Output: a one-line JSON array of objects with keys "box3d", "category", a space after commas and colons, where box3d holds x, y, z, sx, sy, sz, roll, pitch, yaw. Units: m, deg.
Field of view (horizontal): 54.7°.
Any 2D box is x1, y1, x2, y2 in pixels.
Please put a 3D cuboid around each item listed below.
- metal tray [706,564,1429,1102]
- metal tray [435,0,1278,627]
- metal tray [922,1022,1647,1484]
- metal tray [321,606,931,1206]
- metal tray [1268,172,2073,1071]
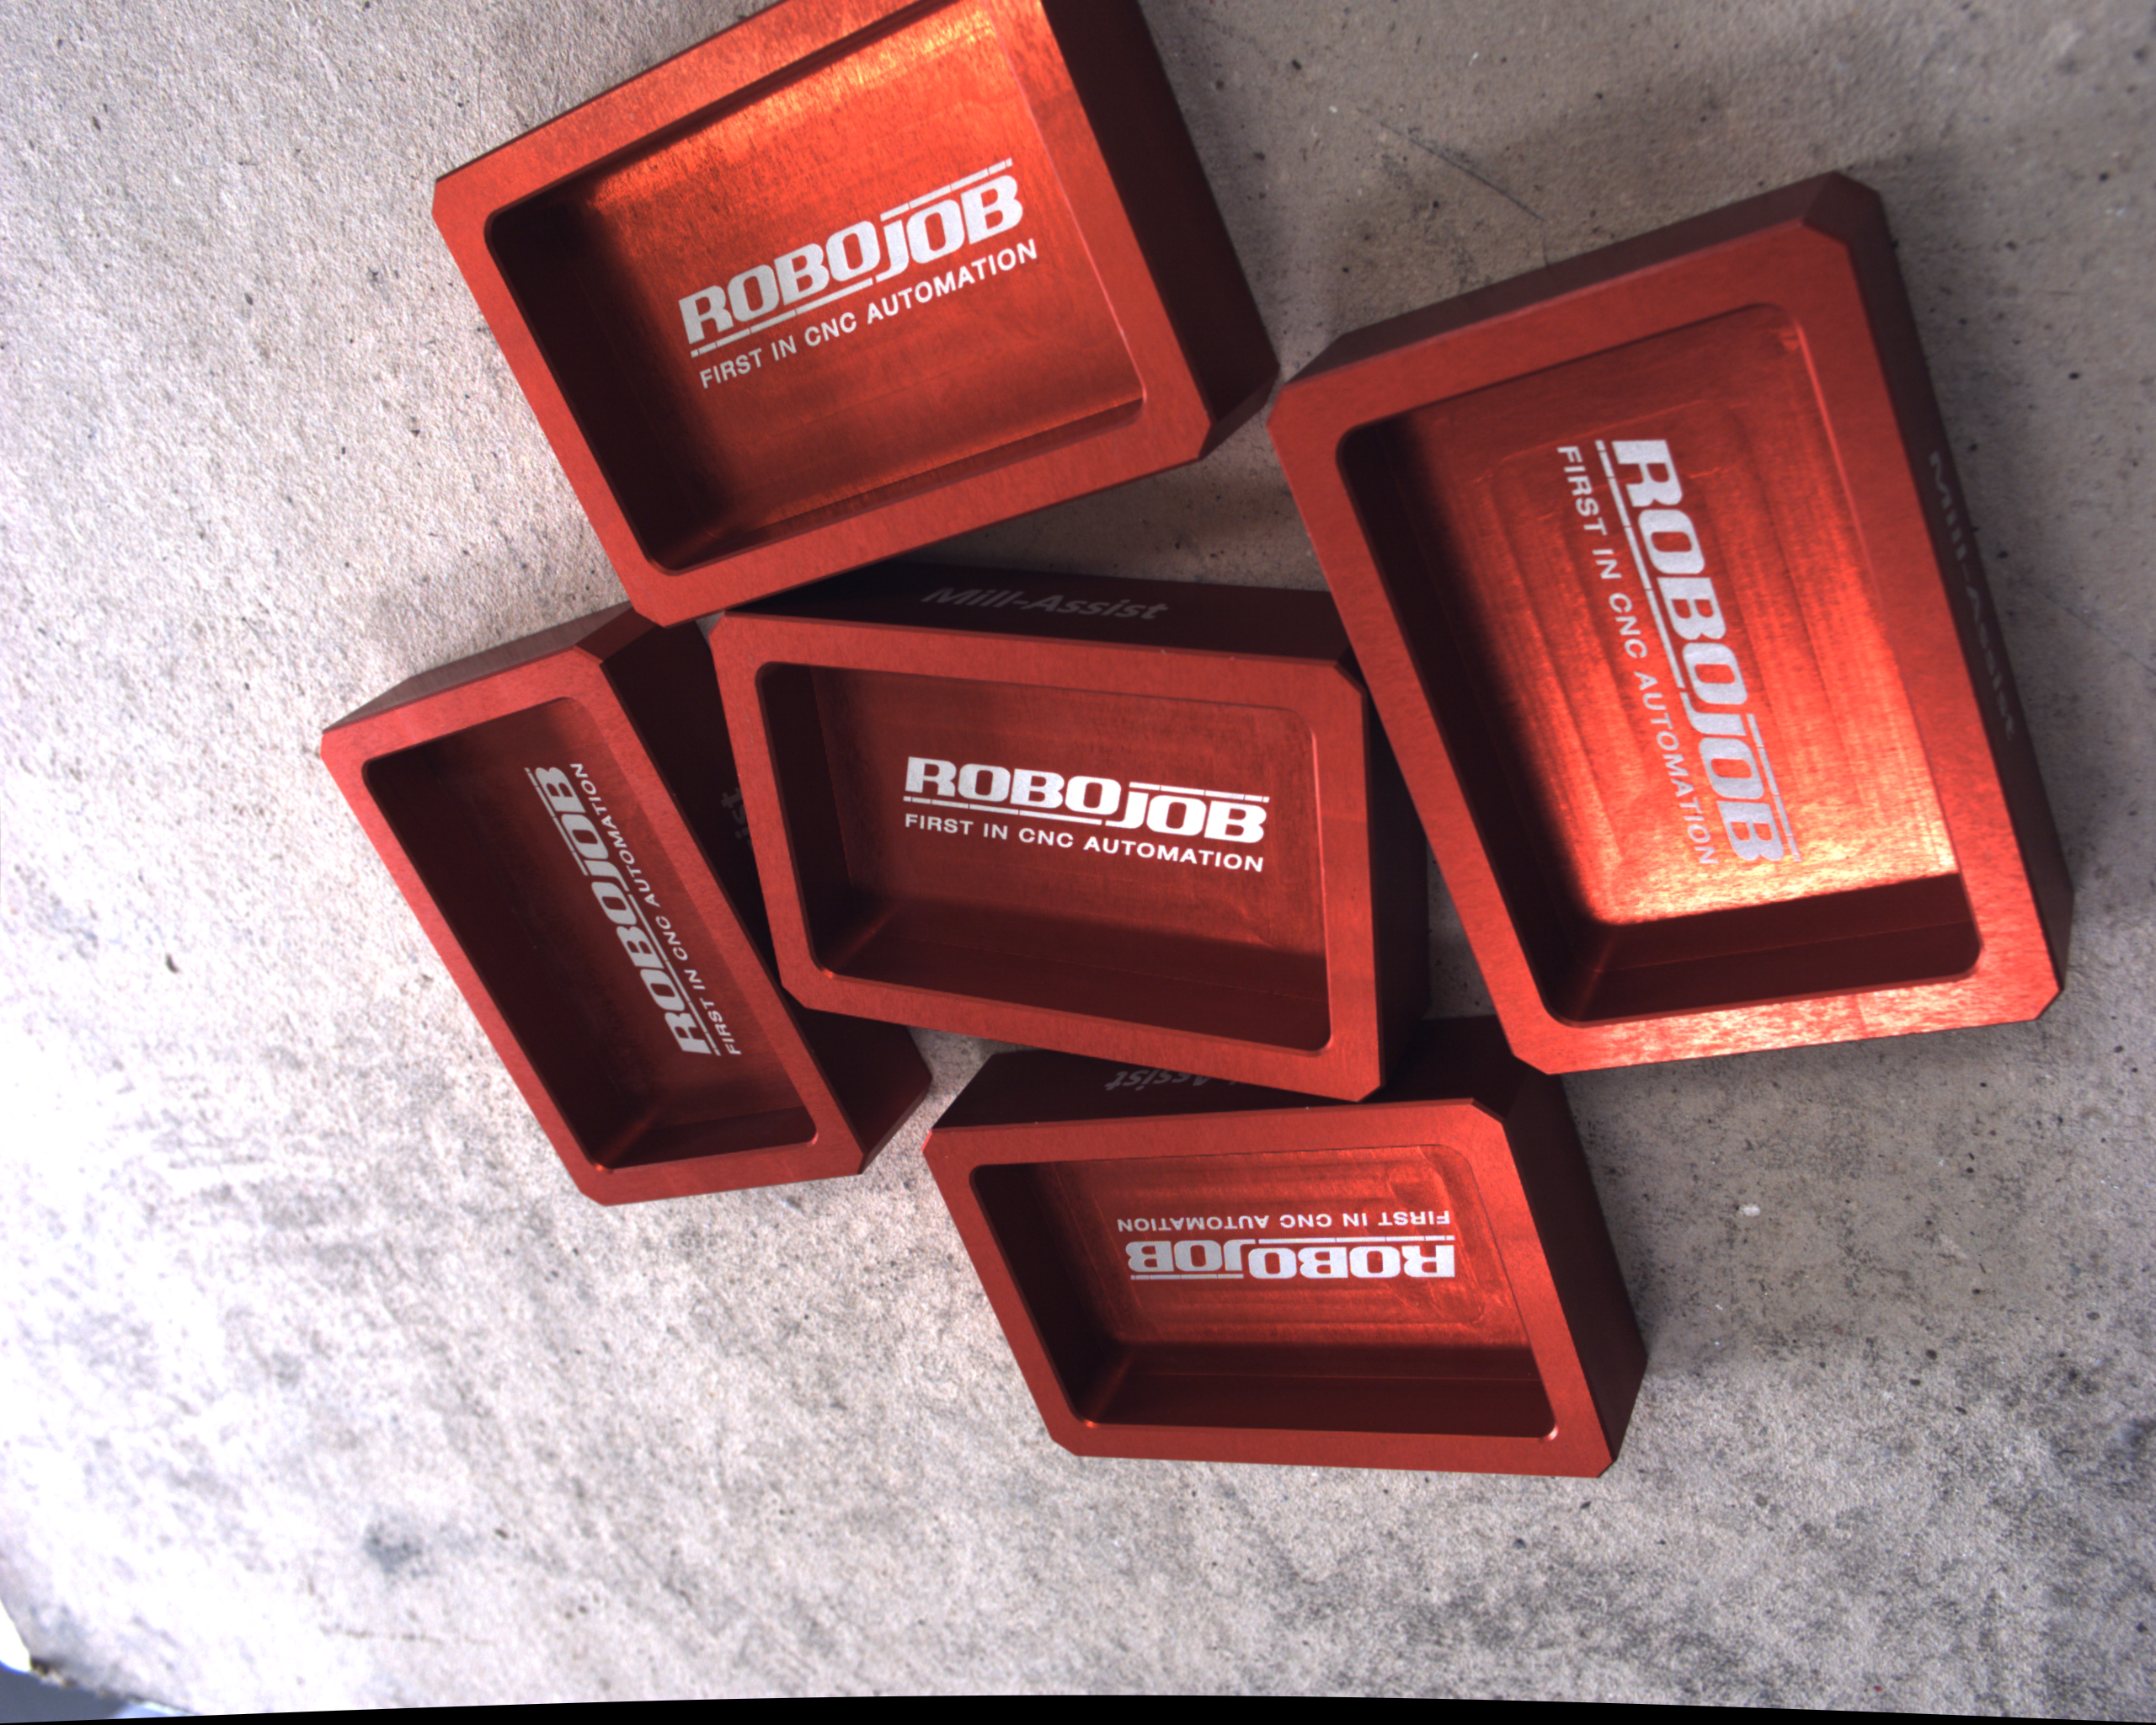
[{"box3d": [-0.001, -0.008, 0.400, 0.130, 0.030, 0.089, 8, 124, 24], "category": "metal tray"}, {"box3d": [-0.041, -0.100, 0.365, 0.130, 0.030, 0.090, -11, 113, 33], "category": "metal tray"}, {"box3d": [0.041, 0.082, 0.433, 0.130, 0.030, 0.090, -7, 115, 32], "category": "metal tray"}, {"box3d": [-0.100, 0.013, 0.466, 0.090, 0.030, 0.129, -12, 113, 33], "category": "metal tray"}, {"box3d": [0.096, -0.032, 0.335, 0.090, 0.030, 0.129, -11, 114, 34], "category": "metal tray"}]
